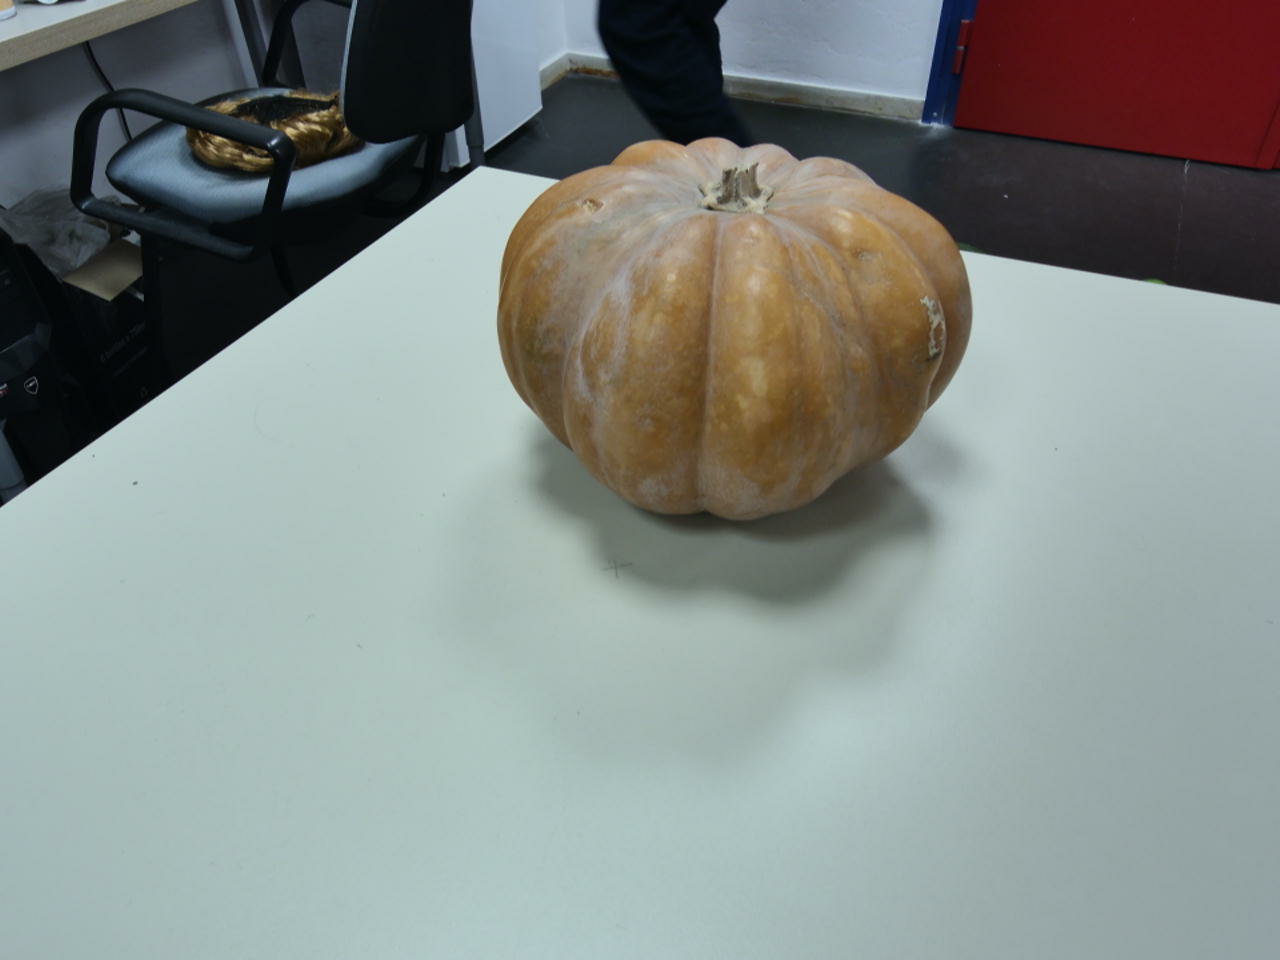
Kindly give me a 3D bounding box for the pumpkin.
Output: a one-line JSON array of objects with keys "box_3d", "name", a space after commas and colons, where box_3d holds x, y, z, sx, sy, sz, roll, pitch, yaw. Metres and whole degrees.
[{"box_3d": [0.048, -0.095, 0.583, 0.277, 0.181, 0.277, 0, 39, 0], "name": "pumpkin"}]
